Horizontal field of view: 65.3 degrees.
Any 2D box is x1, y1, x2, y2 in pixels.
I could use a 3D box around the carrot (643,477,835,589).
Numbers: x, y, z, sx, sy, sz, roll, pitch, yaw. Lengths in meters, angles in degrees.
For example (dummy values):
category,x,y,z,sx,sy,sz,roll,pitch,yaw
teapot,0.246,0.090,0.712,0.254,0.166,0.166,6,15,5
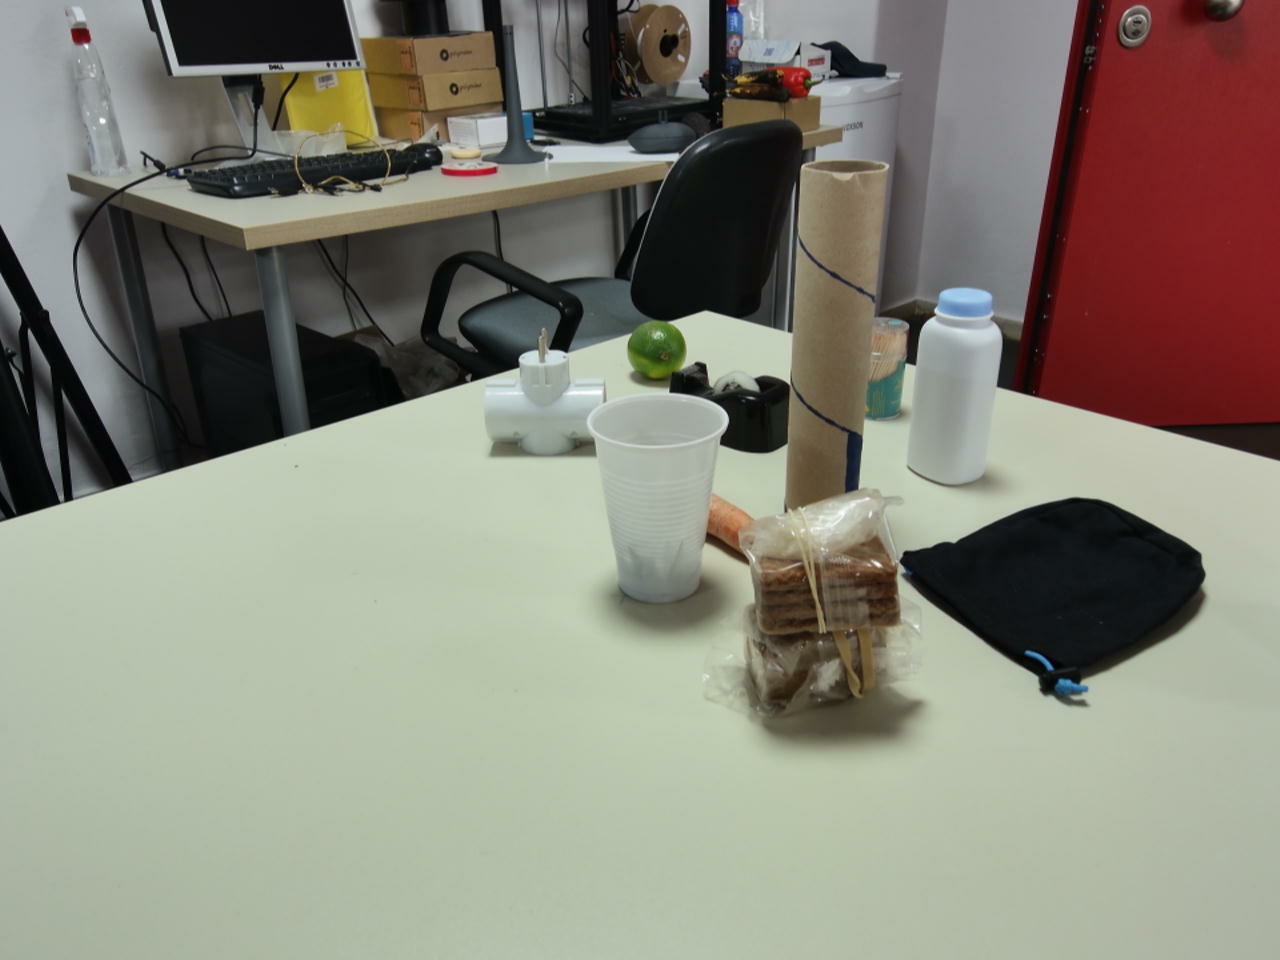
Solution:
category,x,y,z,sx,sy,sz,roll,pitch,yaw
carrot,0.060,0.030,0.628,0.031,0.029,0.163,-20,32,-38
